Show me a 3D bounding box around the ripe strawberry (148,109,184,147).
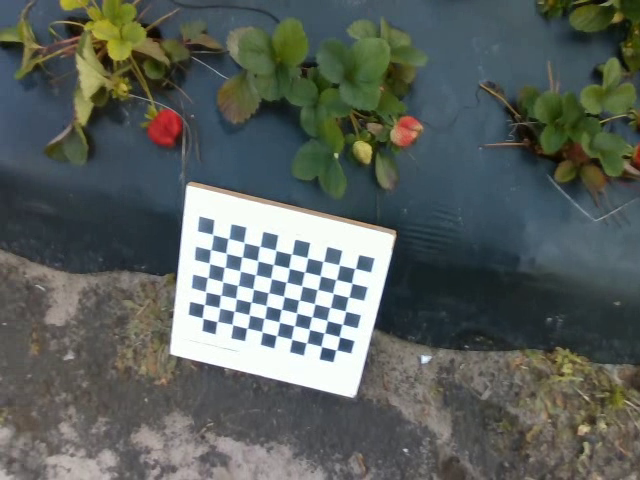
[{"bbox_3d":[-0.058,-0.038,0.301,0.013,0.017,0.015,6,39,-45],"label":"ripe strawberry"}]
